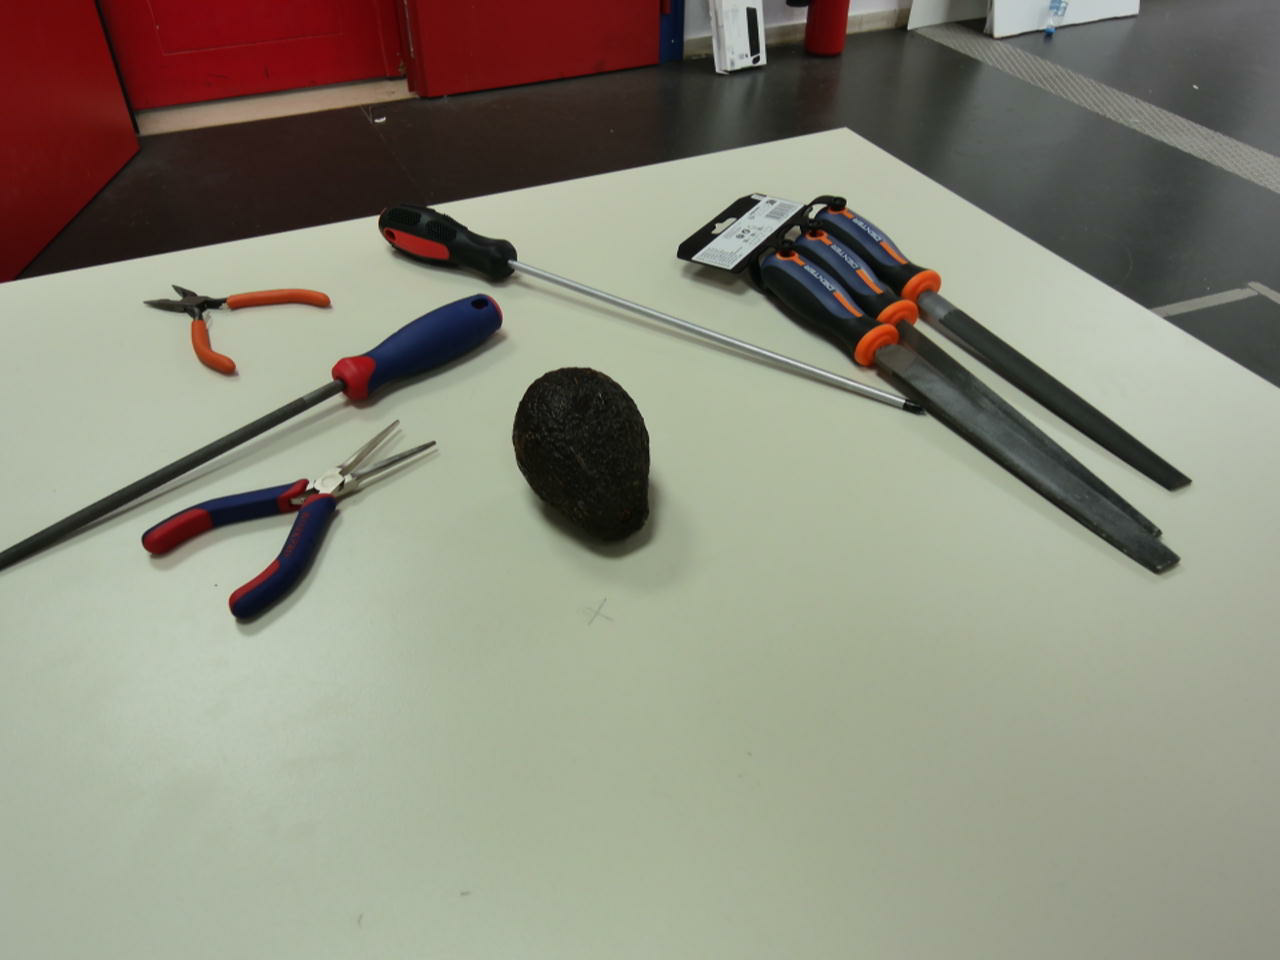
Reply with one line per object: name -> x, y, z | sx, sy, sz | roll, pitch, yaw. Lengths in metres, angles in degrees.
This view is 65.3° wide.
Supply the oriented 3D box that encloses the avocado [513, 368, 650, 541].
avocado -> -0.030, -0.017, 0.508 | 0.070, 0.069, 0.090 | 0, 38, -1
